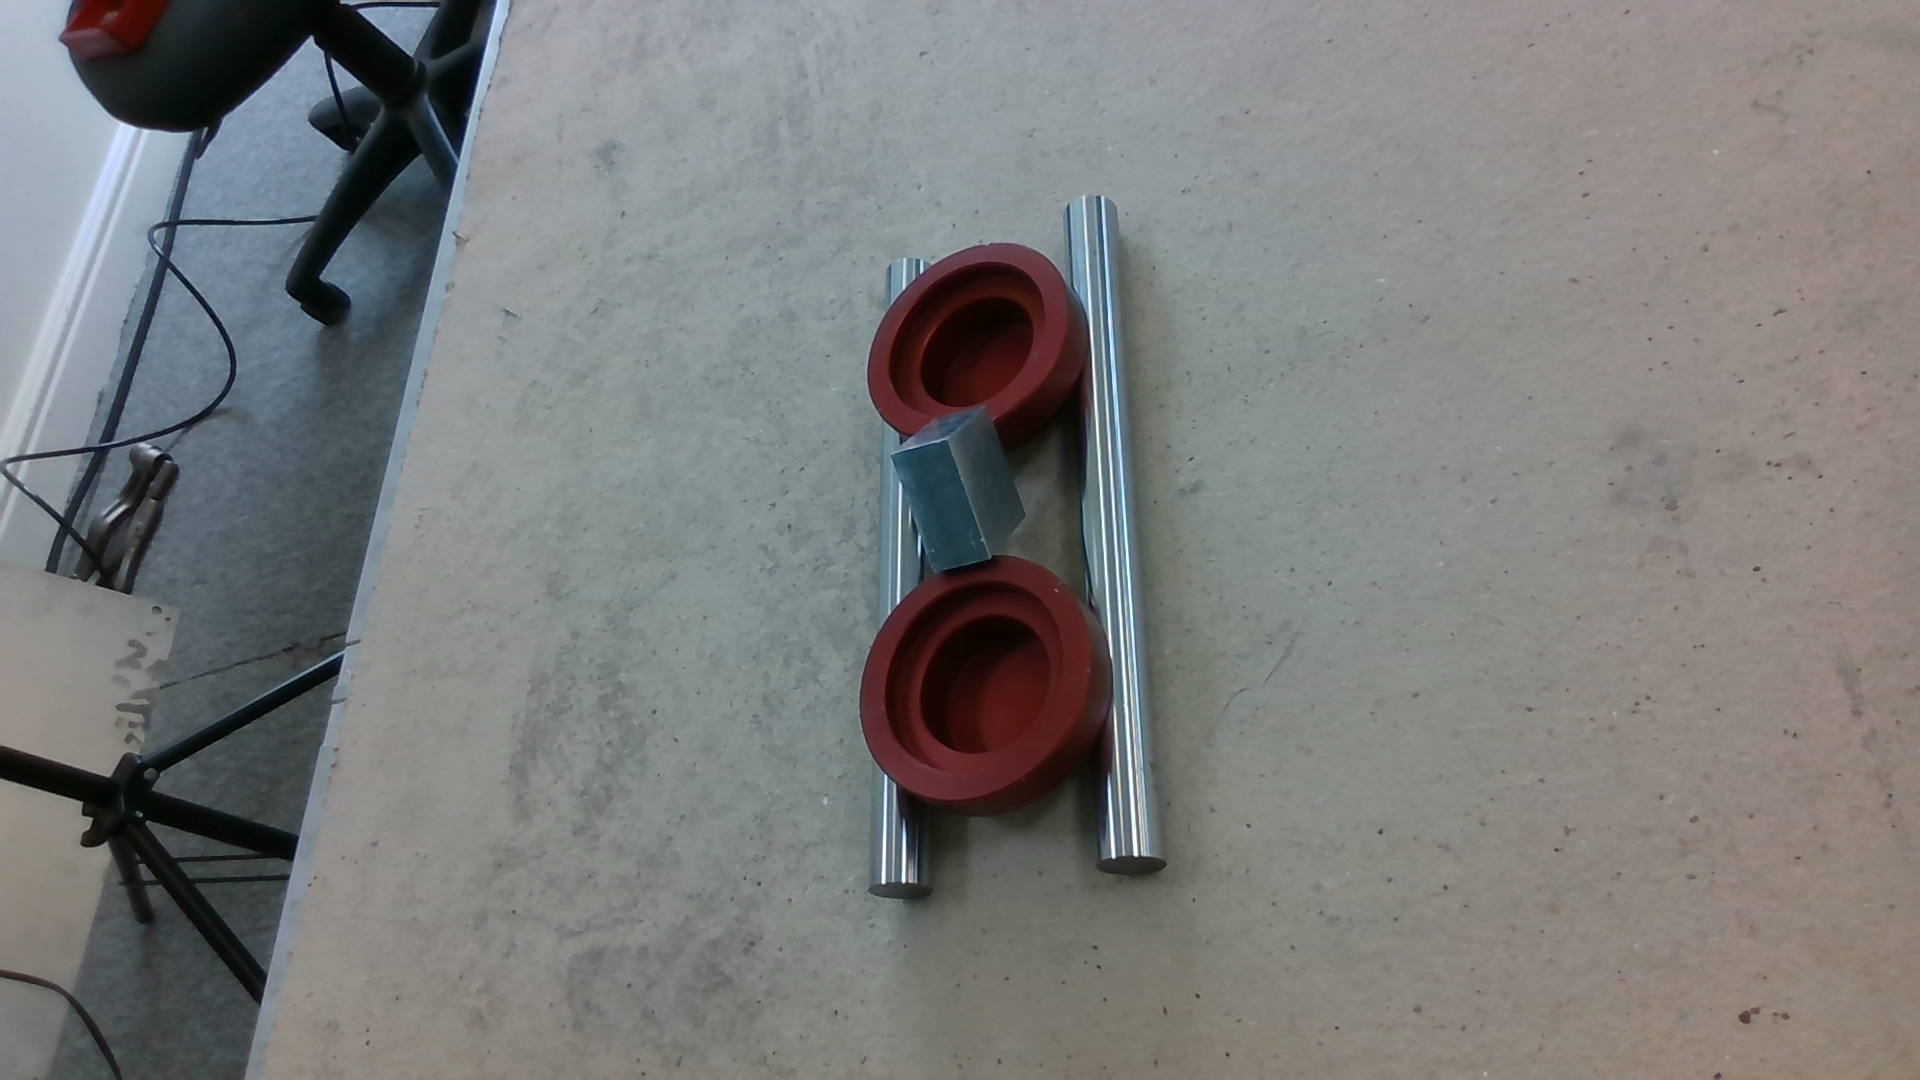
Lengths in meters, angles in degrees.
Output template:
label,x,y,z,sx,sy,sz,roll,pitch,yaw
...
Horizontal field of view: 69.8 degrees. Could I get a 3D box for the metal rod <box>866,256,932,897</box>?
label,x,y,z,sx,sy,sz,roll,pitch,yaw
metal rod,-0.024,0.002,0.599,0.025,0.025,0.299,-14,59,25

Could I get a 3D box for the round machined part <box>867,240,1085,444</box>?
label,x,y,z,sx,sy,sz,roll,pitch,yaw
round machined part,0.011,-0.079,0.604,0.098,0.042,0.098,-14,59,25

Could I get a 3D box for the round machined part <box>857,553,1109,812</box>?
label,x,y,z,sx,sy,sz,roll,pitch,yaw
round machined part,0.012,0.058,0.530,0.098,0.042,0.098,-14,59,25

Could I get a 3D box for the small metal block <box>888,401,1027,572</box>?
label,x,y,z,sx,sy,sz,roll,pitch,yaw
small metal block,0.000,-0.022,0.548,0.025,0.050,0.050,-14,16,24

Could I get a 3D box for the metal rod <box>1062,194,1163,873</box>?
label,x,y,z,sx,sy,sz,roll,pitch,yaw
metal rod,0.059,-0.017,0.558,0.025,0.025,0.299,-14,59,25
